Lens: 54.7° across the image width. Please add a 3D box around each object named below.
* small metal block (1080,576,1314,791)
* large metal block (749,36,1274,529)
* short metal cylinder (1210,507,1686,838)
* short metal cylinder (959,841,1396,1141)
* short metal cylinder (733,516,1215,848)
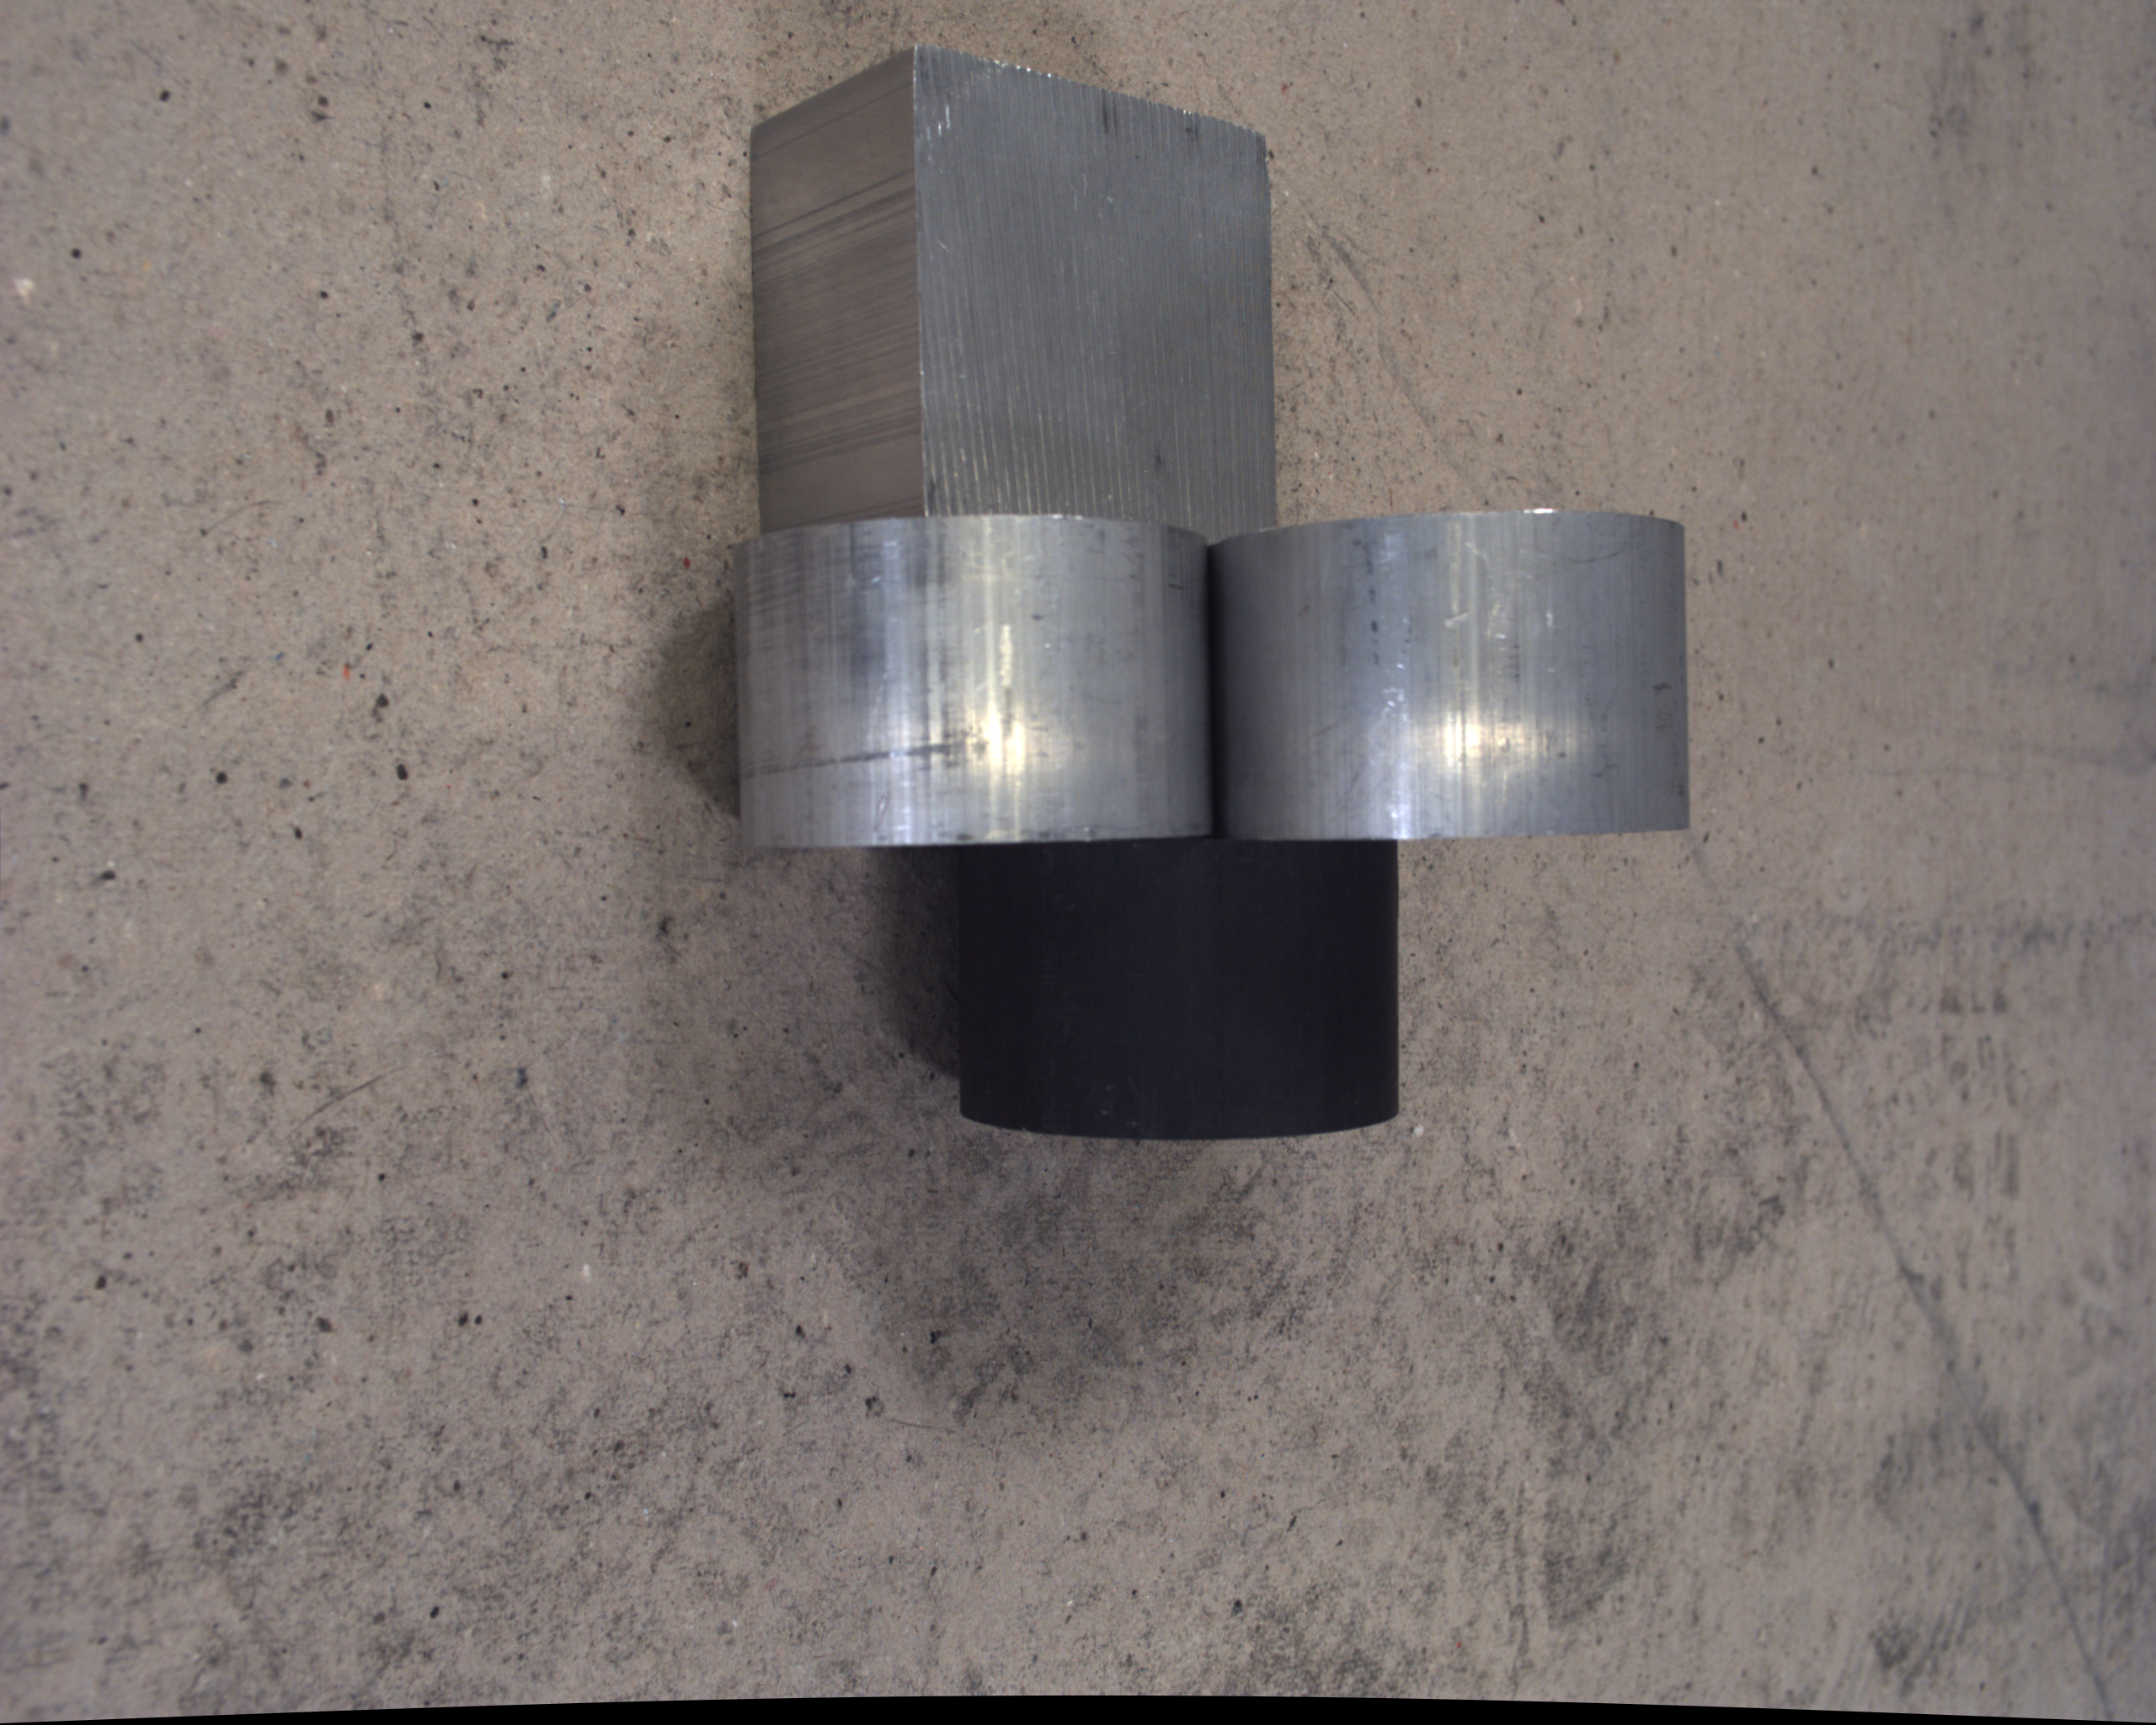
[{"bbox_3d":[0.022,-0.030,0.411,0.025,0.050,0.050,1,89,-40],"label":"small metal block"},{"bbox_3d":[-0.011,-0.095,0.381,0.081,0.050,0.079,-2,92,-40],"label":"large metal block"},{"bbox_3d":[0.062,-0.030,0.358,0.081,0.080,0.050,-3,92,-40],"label":"short metal cylinder"},{"bbox_3d":[0.018,0.021,0.386,0.081,0.080,0.050,-1,91,-40],"label":"short metal cylinder"},{"bbox_3d":[-0.017,-0.029,0.356,0.081,0.080,0.050,-3,92,-40],"label":"short metal cylinder"}]
